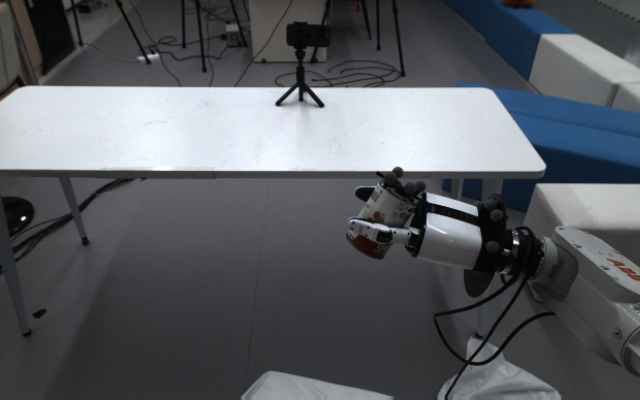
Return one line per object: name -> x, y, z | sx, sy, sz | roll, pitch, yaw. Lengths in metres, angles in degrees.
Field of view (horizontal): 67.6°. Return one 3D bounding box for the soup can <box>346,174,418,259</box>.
soup can -> 0.093, 0.028, 0.723 | 0.067, 0.101, 0.067 | 27, 18, -10
